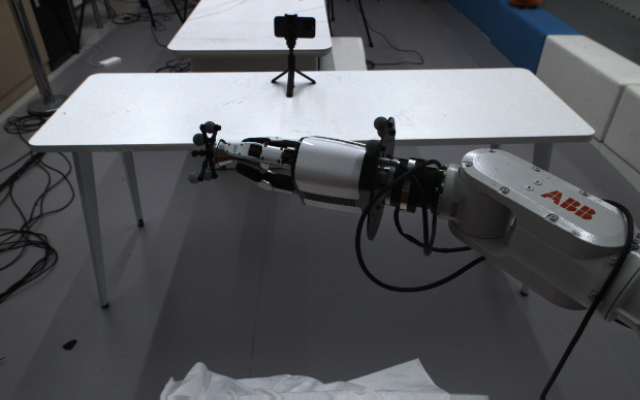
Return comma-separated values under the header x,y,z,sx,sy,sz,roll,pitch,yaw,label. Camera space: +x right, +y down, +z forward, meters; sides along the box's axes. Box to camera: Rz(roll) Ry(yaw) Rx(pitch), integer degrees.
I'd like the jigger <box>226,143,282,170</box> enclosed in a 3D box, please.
x,y,z,sx,sy,sz,roll,pitch,yaw,label
-0.101,-0.064,0.667,0.071,0.043,0.043,7,35,14,jigger
